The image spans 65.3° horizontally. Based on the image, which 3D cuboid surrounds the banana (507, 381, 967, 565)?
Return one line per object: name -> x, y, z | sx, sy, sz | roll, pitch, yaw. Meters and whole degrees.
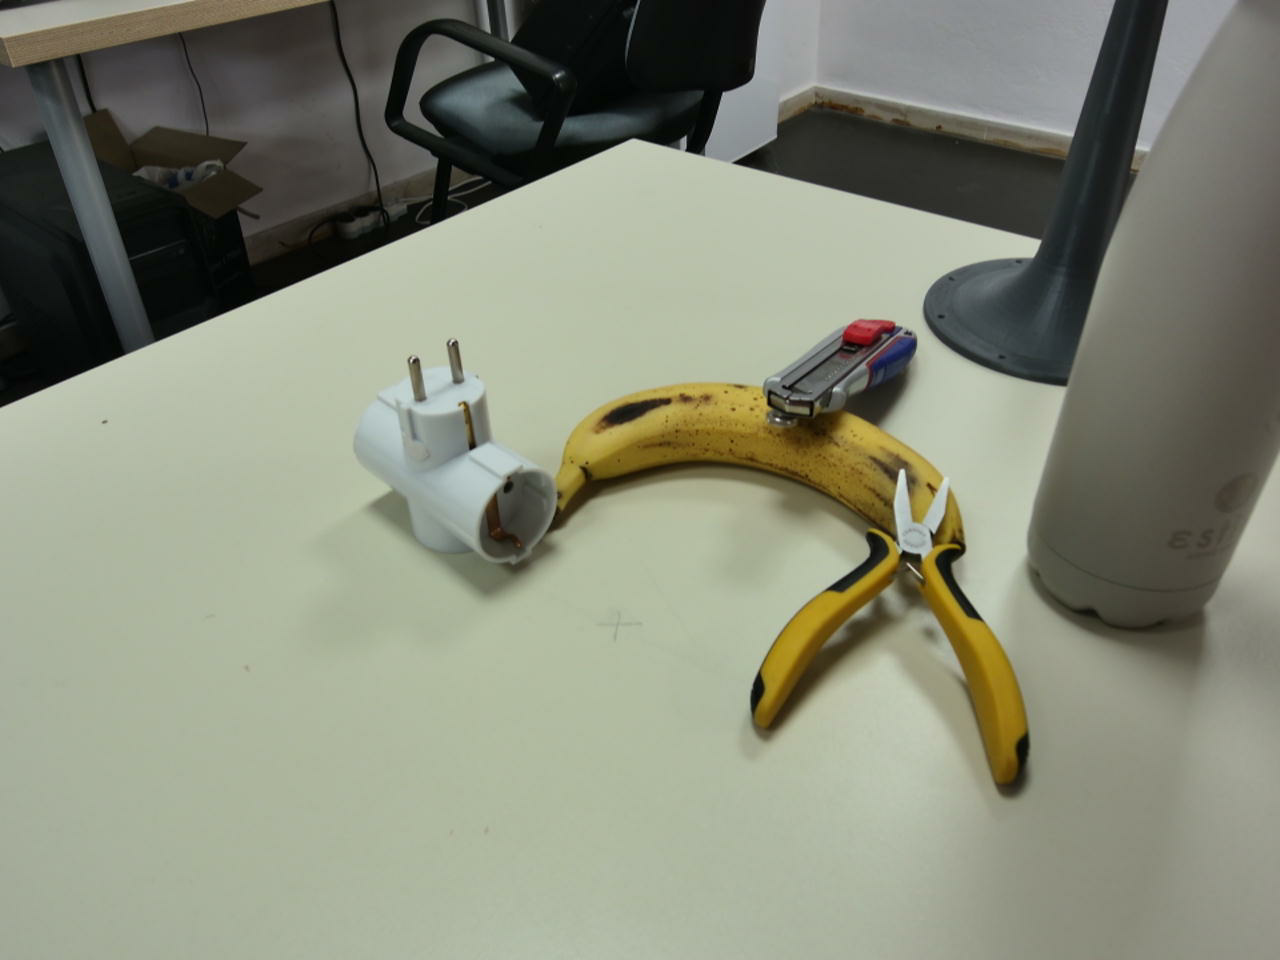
banana -> 0.048, -0.007, 0.447 | 0.186, 0.038, 0.097 | 7, 37, 10
